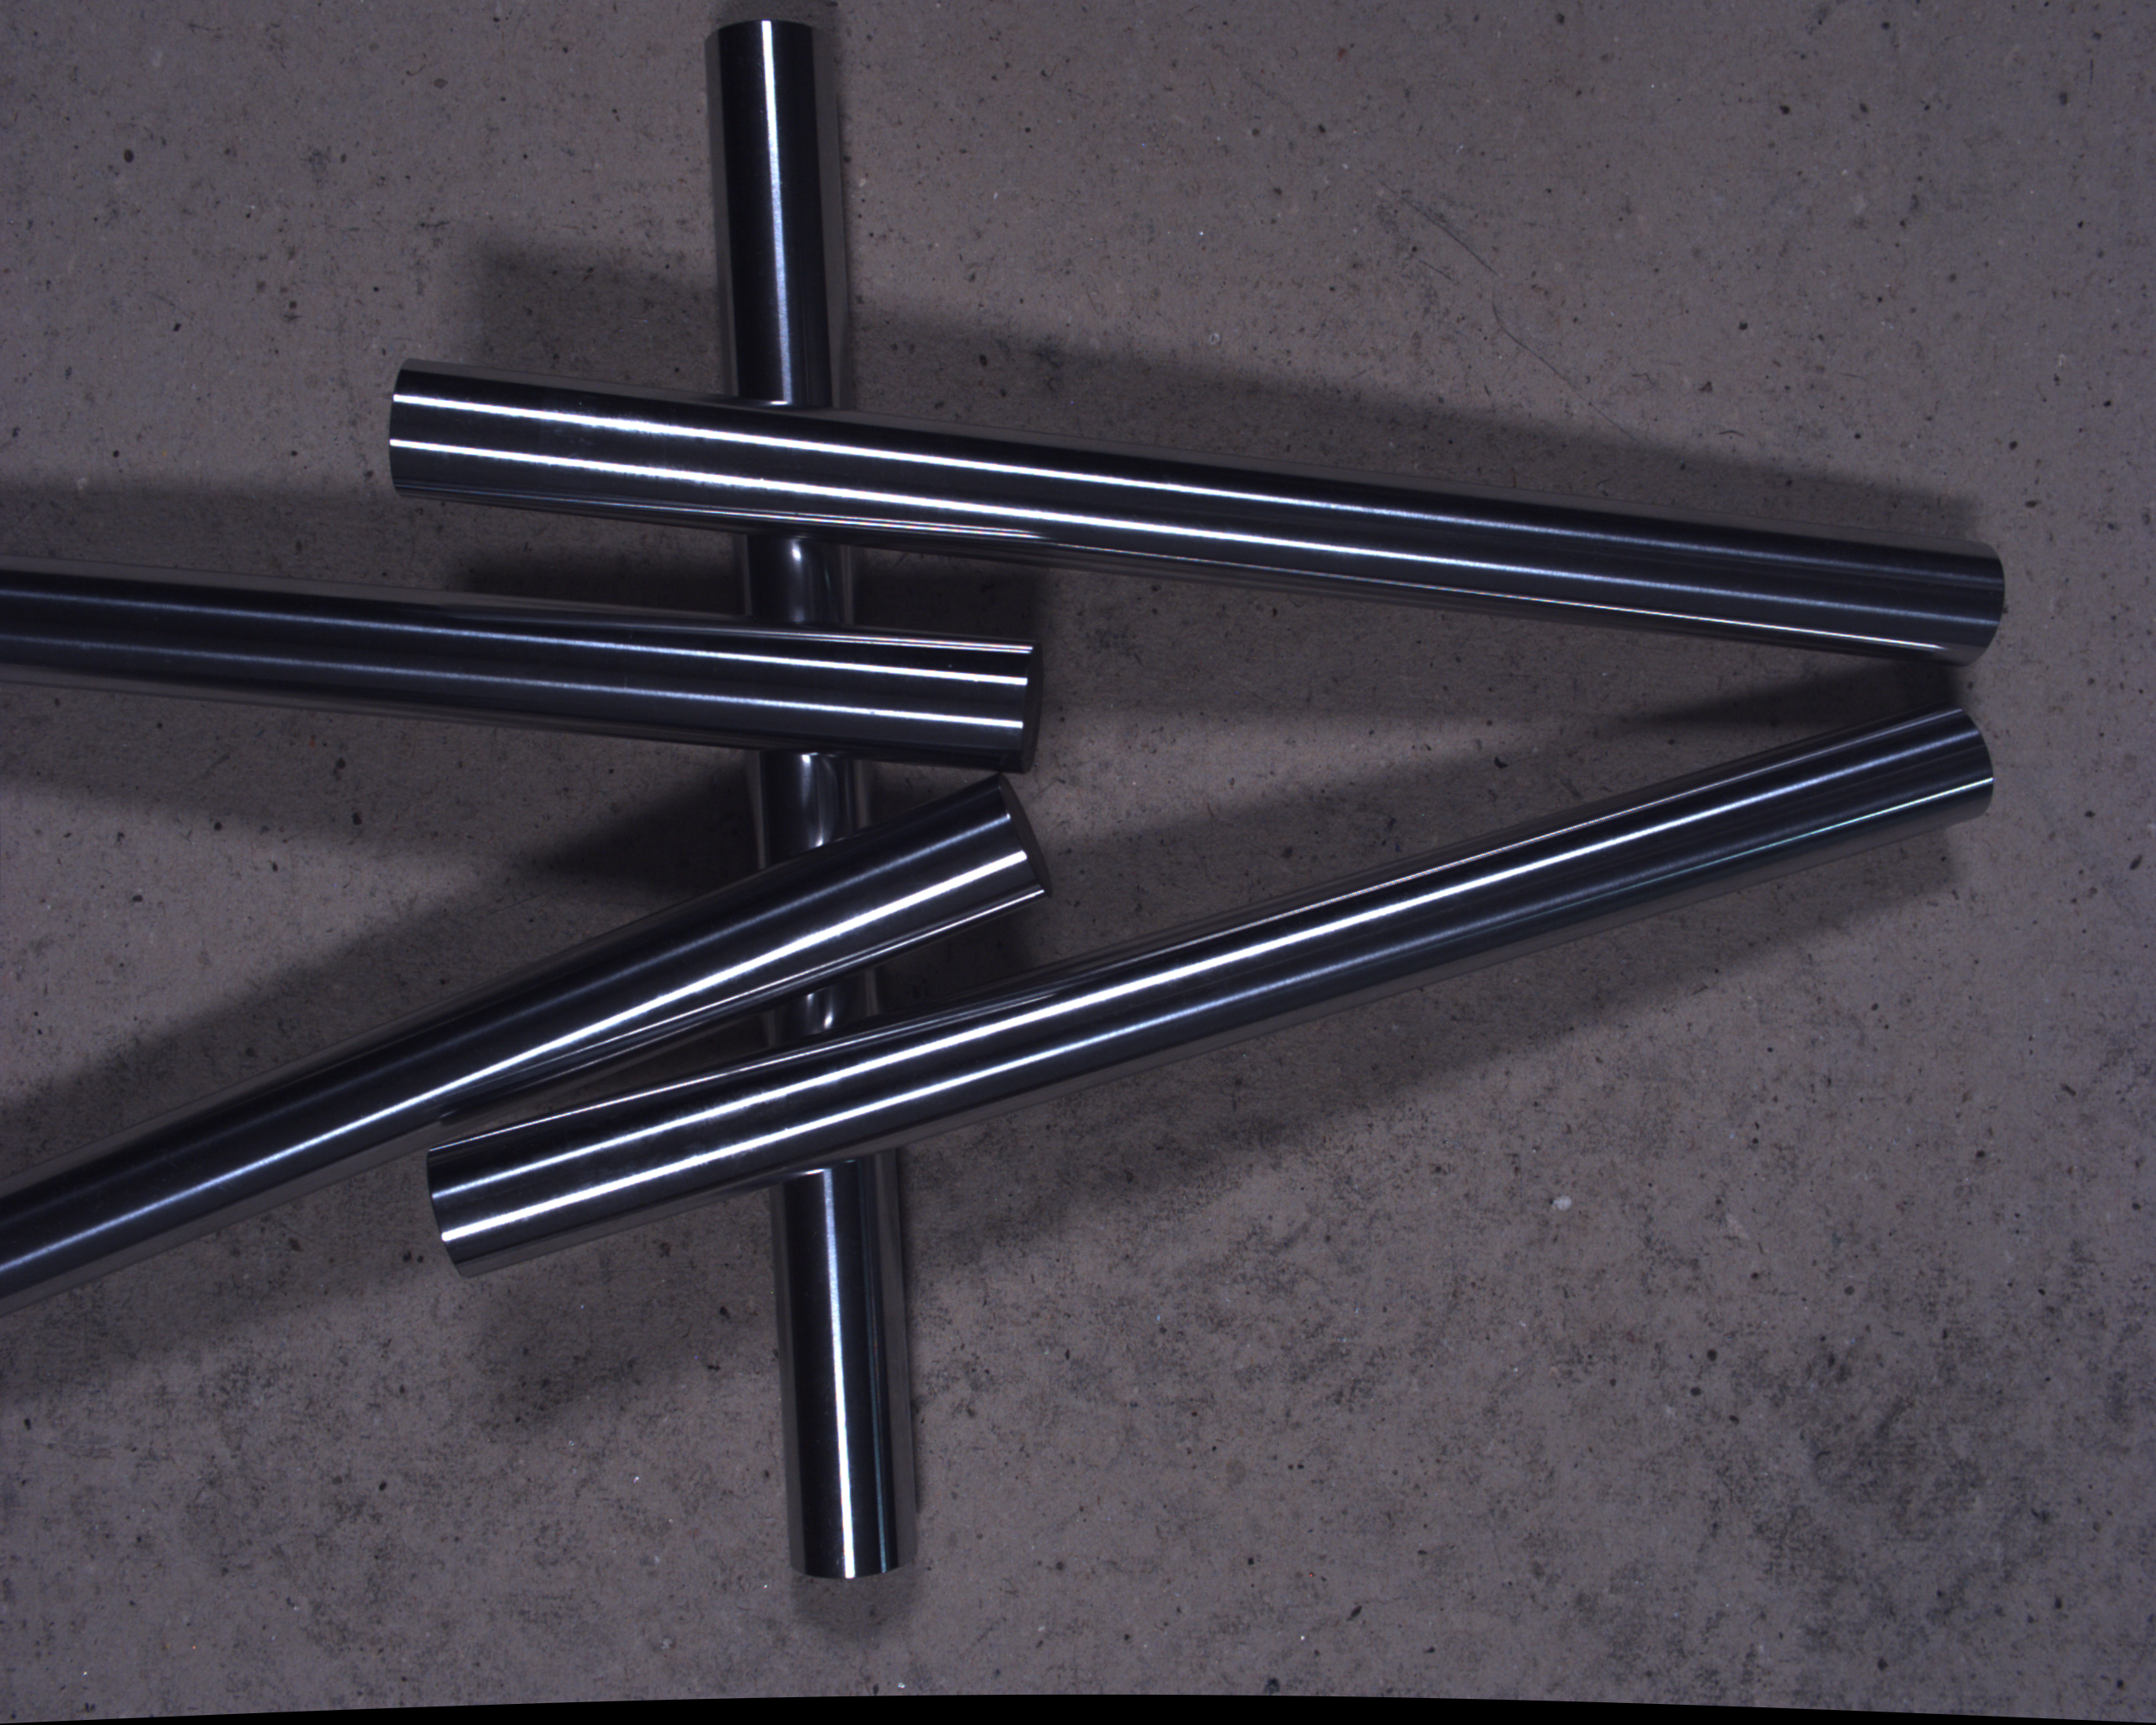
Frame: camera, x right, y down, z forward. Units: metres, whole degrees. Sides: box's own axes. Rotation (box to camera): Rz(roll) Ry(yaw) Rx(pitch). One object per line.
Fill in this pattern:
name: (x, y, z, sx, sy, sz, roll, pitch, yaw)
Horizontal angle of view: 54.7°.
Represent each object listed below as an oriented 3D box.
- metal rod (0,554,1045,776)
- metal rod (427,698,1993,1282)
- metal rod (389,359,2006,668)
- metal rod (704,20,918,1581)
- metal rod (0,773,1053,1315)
metal rod: (-0.157, -0.042, 0.395, 0.302, 0.025, 0.025, 5, 90, 5)
metal rod: (0.030, 0.022, 0.396, 0.302, 0.025, 0.025, -16, 90, -7)
metal rod: (0.028, -0.065, 0.395, 0.302, 0.025, 0.025, 5, 90, -7)
metal rod: (-0.052, -0.012, 0.410, 0.025, 0.025, 0.298, -3, 90, -1)
metal rod: (-0.149, 0.050, 0.395, 0.301, 0.025, 0.025, -22, 90, 5)
